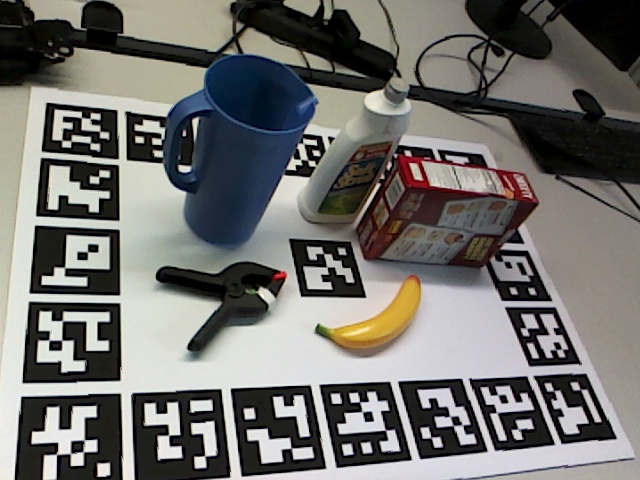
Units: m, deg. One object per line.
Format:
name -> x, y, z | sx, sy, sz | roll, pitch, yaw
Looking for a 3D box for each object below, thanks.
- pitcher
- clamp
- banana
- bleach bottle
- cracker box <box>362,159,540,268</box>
pitcher -> -0.116, -0.105, 0.799 | 0.188, 0.243, 0.134 | -14, 57, -35
clamp -> -0.118, 0.076, 0.813 | 0.164, 0.036, 0.122 | -12, 55, -33
banana -> 0.088, 0.108, 0.886 | 0.074, 0.039, 0.196 | 43, 48, 16
bleach bottle -> 0.042, -0.117, 0.906 | 0.102, 0.251, 0.068 | 2, 50, -22
cracker box -> 0.192, -0.036, 0.938 | 0.212, 0.164, 0.072 | 3, 48, -20
